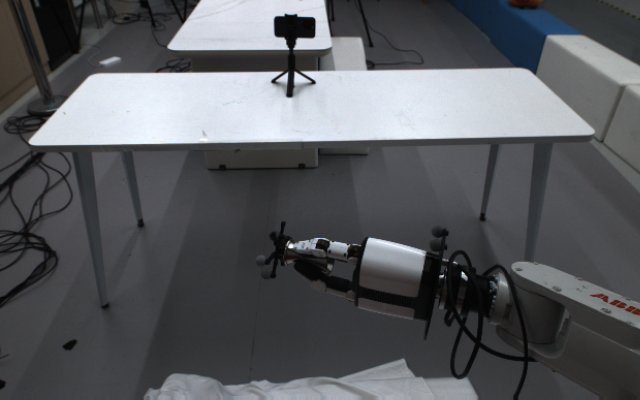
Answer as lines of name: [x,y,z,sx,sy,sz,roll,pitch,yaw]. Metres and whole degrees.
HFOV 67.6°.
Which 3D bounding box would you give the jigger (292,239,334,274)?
jigger: [-0.009,0.079,0.720,0.071,0.043,0.043,9,35,16]
